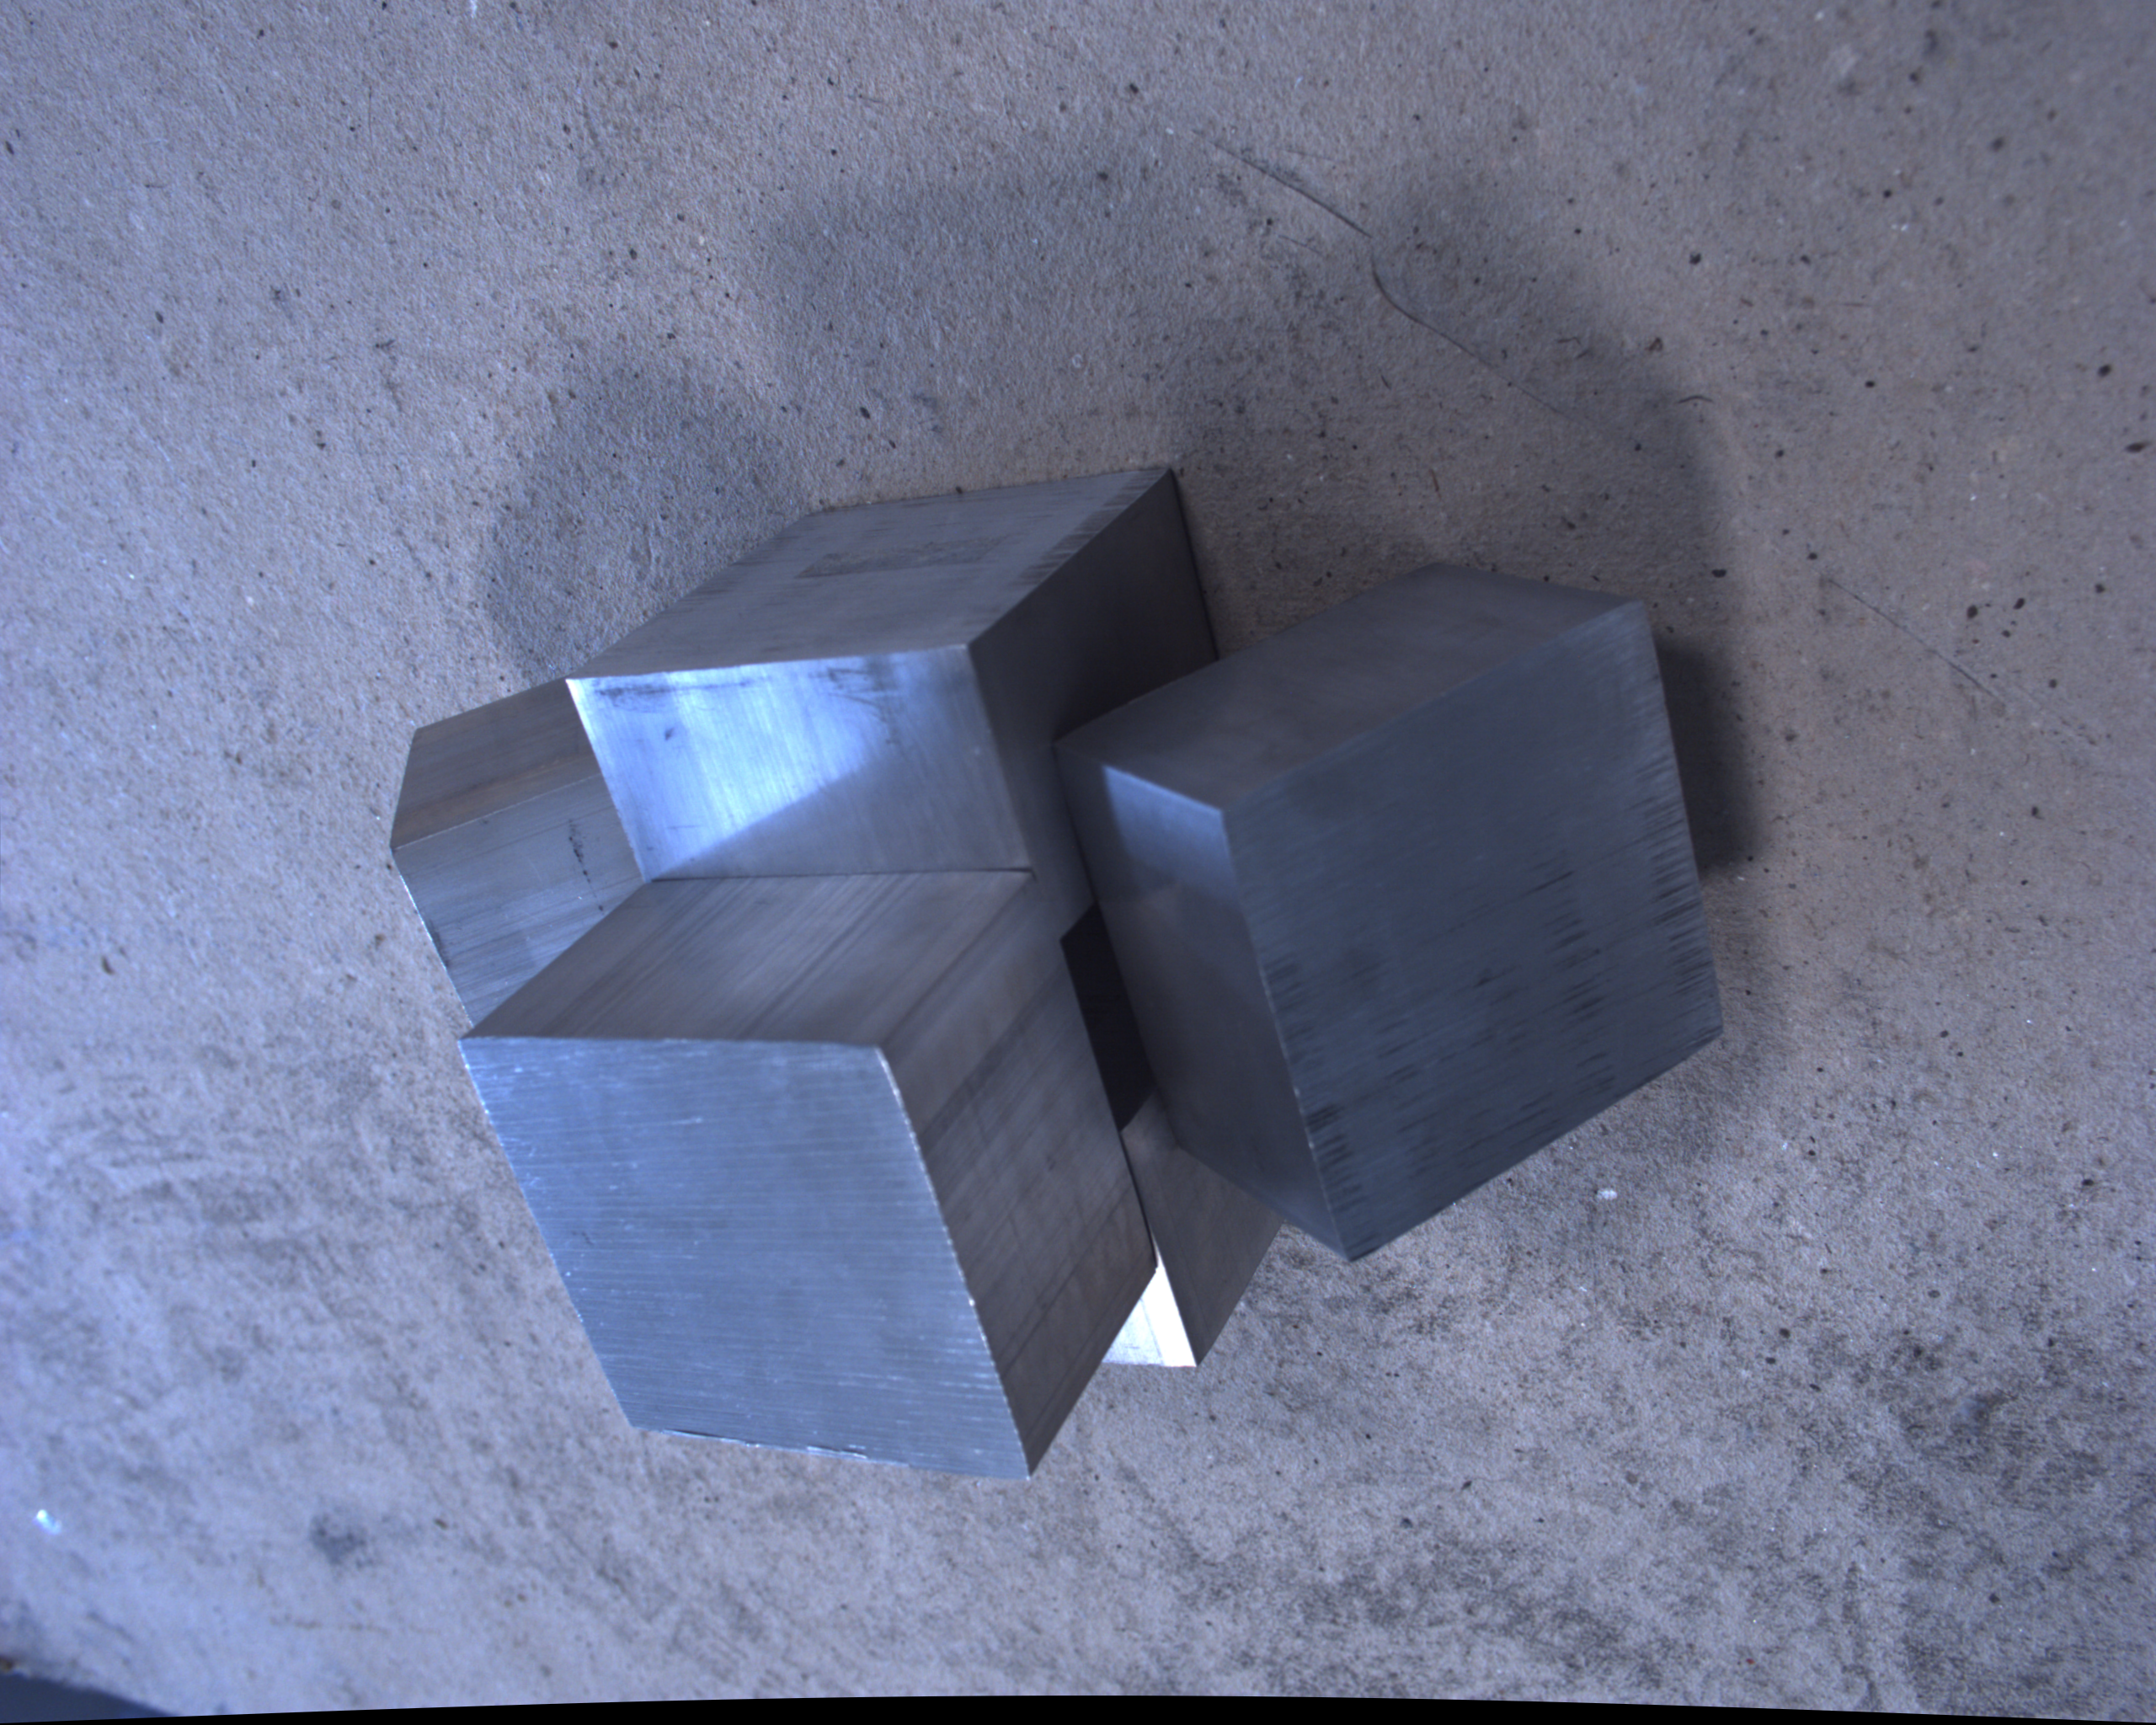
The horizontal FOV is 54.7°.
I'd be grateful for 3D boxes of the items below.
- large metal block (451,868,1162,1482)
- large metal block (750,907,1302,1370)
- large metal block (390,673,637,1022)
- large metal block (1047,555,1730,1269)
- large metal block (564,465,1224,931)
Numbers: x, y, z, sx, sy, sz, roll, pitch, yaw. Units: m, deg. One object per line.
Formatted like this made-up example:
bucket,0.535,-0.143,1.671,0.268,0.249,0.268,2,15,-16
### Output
large metal block,-0.042,0.049,0.341,0.080,0.050,0.080,-2,118,29
large metal block,-0.003,0.050,0.408,0.080,0.080,0.050,-3,117,30
large metal block,-0.095,0.011,0.421,0.050,0.080,0.080,-20,113,-7
large metal block,0.052,0.005,0.338,0.050,0.081,0.080,25,138,58
large metal block,-0.028,-0.029,0.370,0.080,0.080,0.050,-2,117,29
